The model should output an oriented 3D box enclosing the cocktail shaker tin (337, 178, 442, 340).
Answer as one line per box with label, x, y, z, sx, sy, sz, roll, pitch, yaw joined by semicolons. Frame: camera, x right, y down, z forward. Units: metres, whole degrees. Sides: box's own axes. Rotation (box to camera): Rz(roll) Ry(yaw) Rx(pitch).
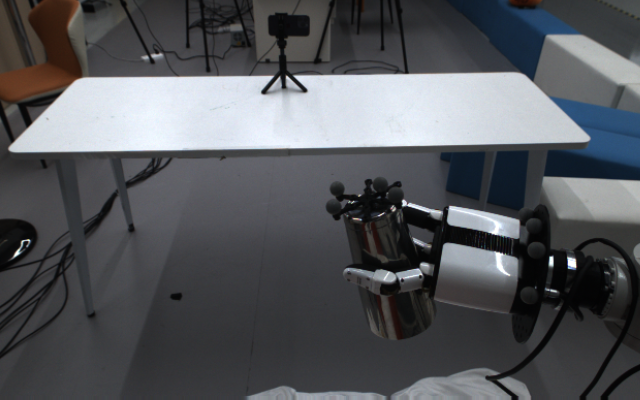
cocktail shaker tin;0.082;0.075;0.591;0.093;0.170;0.093;-15;29;8
